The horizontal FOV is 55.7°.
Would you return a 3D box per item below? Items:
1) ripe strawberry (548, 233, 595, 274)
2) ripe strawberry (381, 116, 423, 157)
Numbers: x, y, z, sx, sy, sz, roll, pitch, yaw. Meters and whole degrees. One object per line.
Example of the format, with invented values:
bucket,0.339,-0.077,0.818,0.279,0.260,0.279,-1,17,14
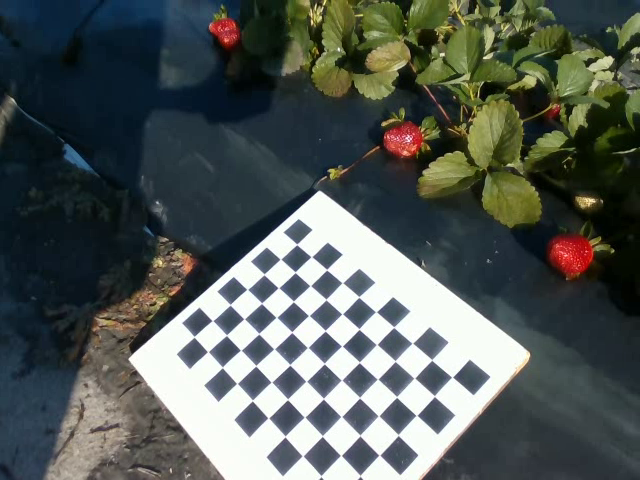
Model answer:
ripe strawberry,0.214,0.012,0.522,0.050,0.043,0.043,14,-37,-37
ripe strawberry,0.083,-0.106,0.630,0.053,0.043,0.042,-6,49,-45
